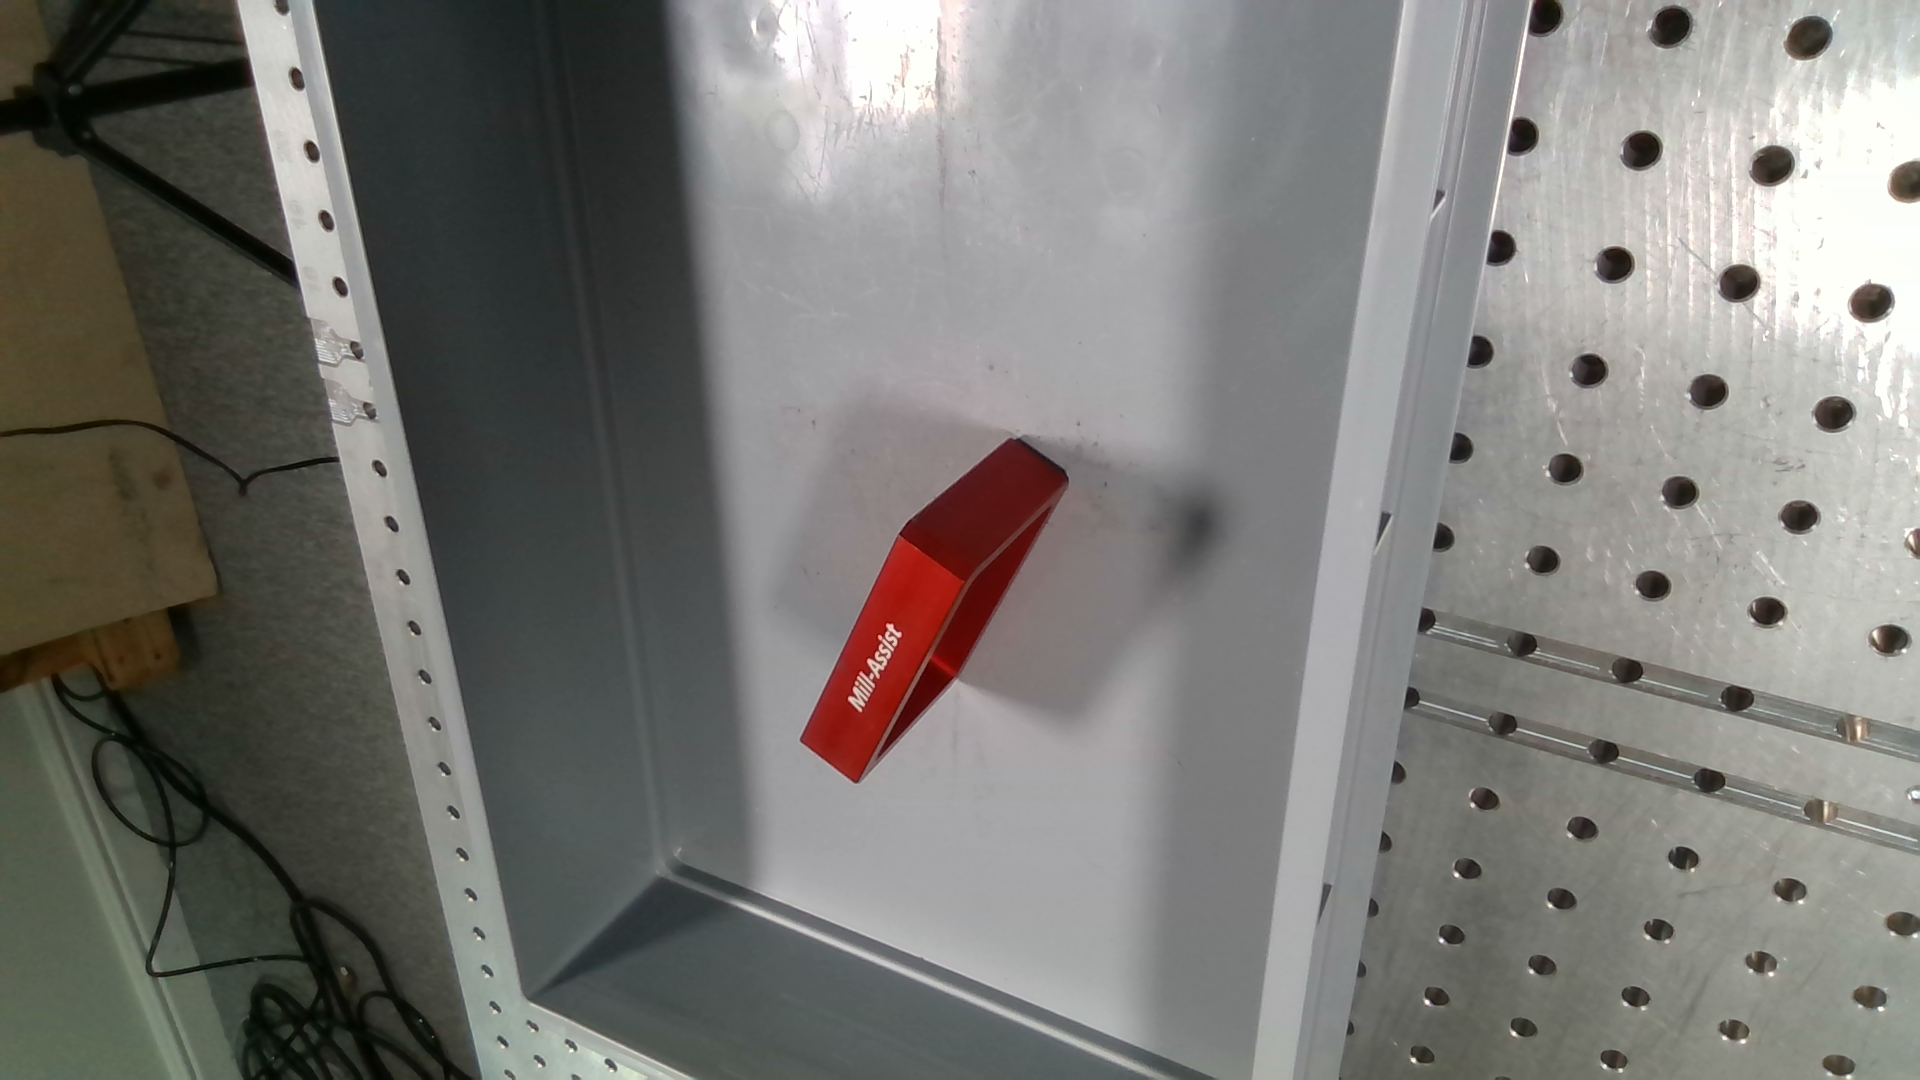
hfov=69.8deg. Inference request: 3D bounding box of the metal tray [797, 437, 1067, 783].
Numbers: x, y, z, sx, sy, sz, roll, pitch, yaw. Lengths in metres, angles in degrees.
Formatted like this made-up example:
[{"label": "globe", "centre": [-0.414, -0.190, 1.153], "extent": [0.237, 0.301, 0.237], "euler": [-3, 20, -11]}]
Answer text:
[{"label": "metal tray", "centre": [-0.012, 0.029, 0.558], "extent": [0.030, 0.090, 0.130], "euler": [36, 129, 10]}]
